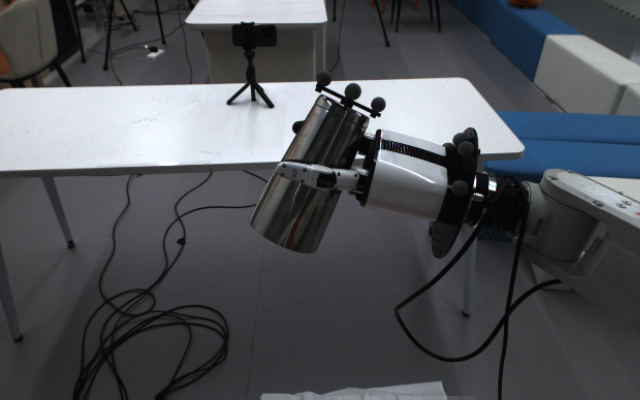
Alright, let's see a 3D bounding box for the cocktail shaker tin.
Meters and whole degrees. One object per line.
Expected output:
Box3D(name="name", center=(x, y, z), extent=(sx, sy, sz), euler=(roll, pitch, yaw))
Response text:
Box3D(name="cocktail shaker tin", center=(-0.006, -0.034, 0.574), extent=(0.093, 0.170, 0.093), euler=(24, 12, -5))
